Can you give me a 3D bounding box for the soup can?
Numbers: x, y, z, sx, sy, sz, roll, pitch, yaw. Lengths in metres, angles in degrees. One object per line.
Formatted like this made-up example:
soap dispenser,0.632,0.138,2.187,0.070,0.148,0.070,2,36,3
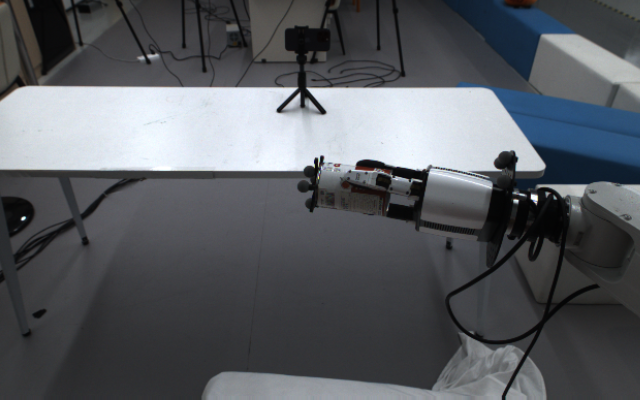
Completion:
soup can,0.051,-0.016,0.692,0.101,0.067,0.067,7,35,10
